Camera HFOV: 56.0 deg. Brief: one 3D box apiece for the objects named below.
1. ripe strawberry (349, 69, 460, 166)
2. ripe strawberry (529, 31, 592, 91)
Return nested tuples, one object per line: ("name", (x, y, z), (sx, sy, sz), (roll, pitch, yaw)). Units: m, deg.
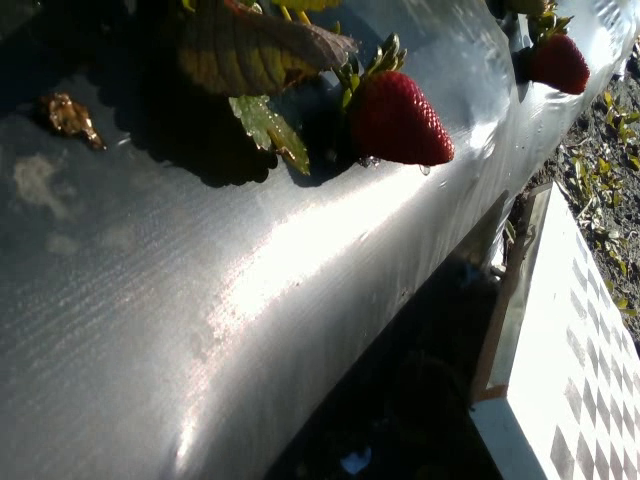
("ripe strawberry", (0.036, -0.049, 0.253), (0.055, 0.042, 0.045), (37, 26, 11))
("ripe strawberry", (0.183, -0.132, 0.459), (0.042, 0.059, 0.042), (-35, -15, 26))
